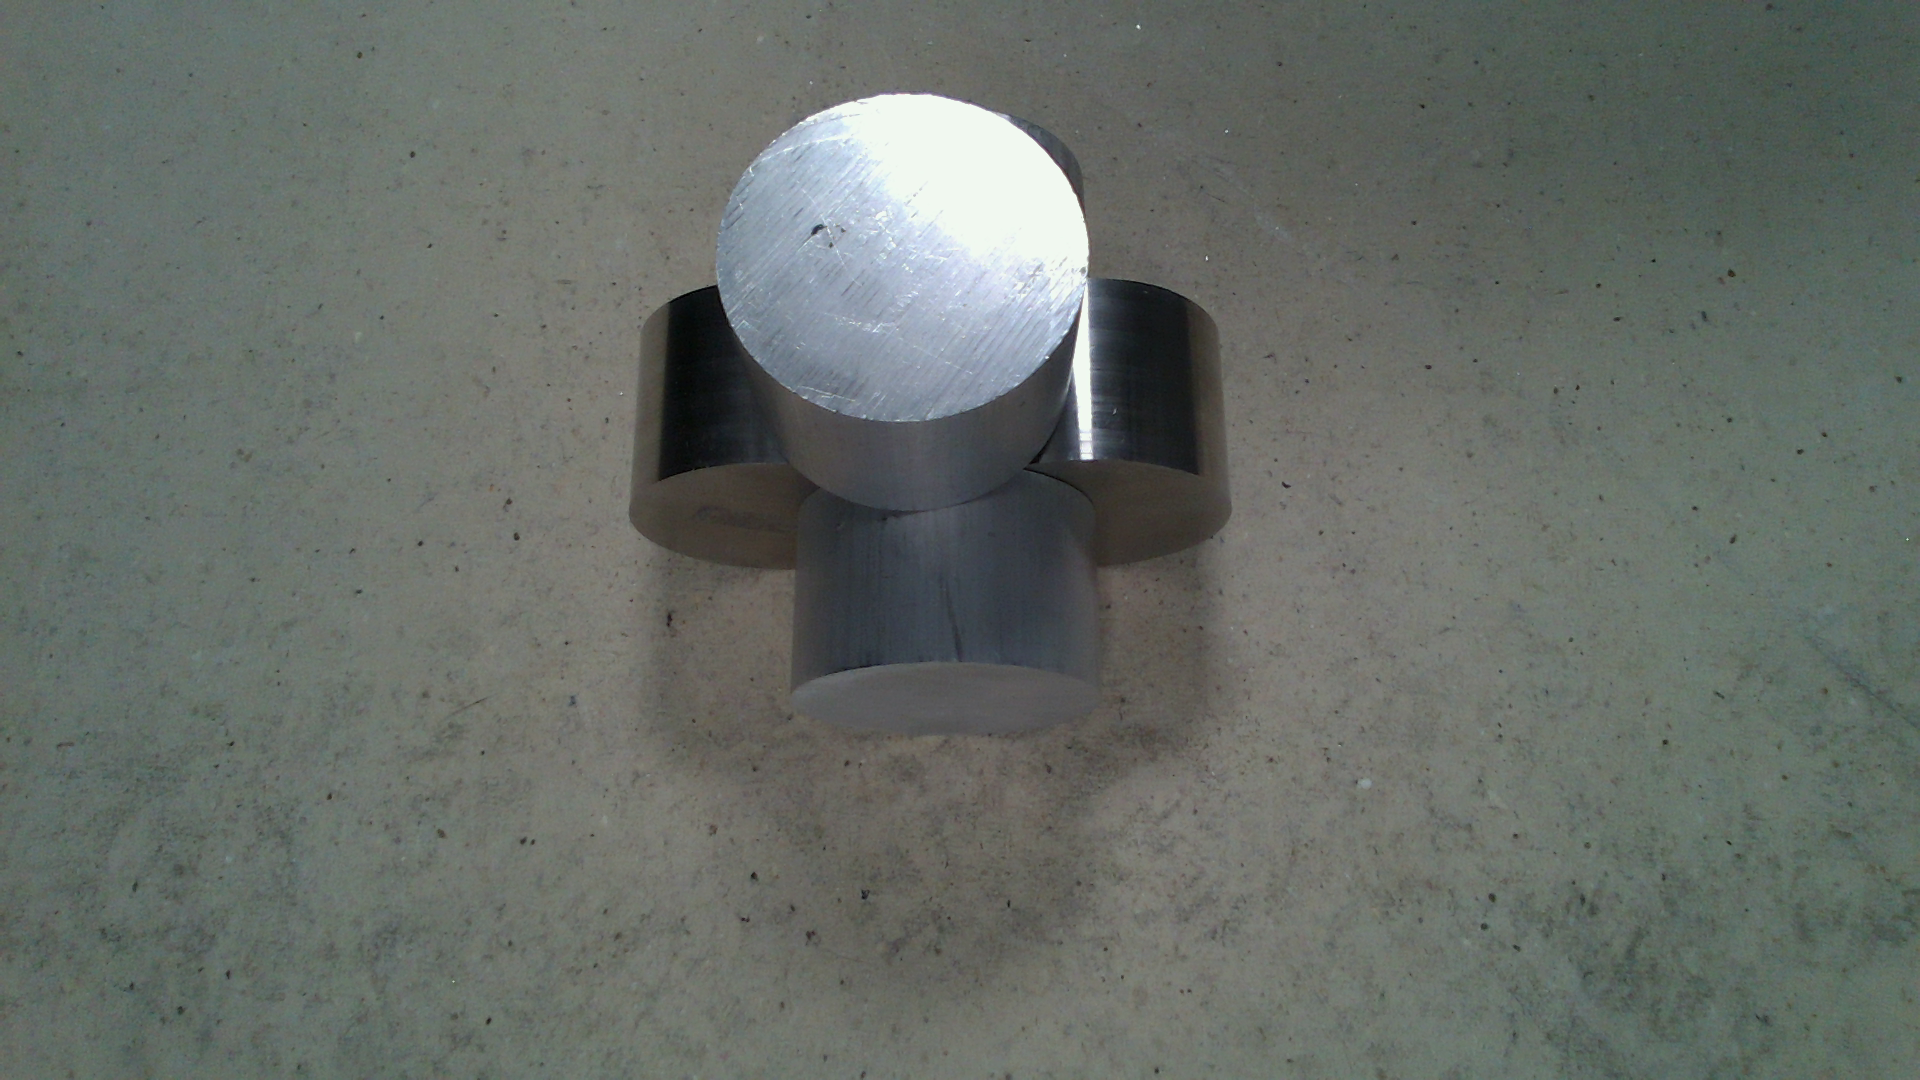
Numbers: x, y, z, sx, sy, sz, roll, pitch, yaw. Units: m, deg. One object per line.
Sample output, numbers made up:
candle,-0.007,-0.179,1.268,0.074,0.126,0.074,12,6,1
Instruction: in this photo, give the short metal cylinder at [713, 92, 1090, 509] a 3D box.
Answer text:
short metal cylinder,-0.012,-0.053,0.315,0.080,0.050,0.080,0,70,0

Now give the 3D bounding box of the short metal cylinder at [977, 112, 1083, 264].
short metal cylinder,-0.003,-0.078,0.394,0.080,0.080,0.050,-2,70,-1

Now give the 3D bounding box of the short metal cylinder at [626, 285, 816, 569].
short metal cylinder,-0.049,-0.029,0.376,0.080,0.080,0.050,-1,70,0

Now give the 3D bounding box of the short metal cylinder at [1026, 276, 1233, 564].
short metal cylinder,0.032,-0.029,0.376,0.080,0.080,0.050,-1,70,0

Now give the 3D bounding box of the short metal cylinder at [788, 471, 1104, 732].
short metal cylinder,-0.004,0.018,0.359,0.080,0.080,0.050,0,70,0
